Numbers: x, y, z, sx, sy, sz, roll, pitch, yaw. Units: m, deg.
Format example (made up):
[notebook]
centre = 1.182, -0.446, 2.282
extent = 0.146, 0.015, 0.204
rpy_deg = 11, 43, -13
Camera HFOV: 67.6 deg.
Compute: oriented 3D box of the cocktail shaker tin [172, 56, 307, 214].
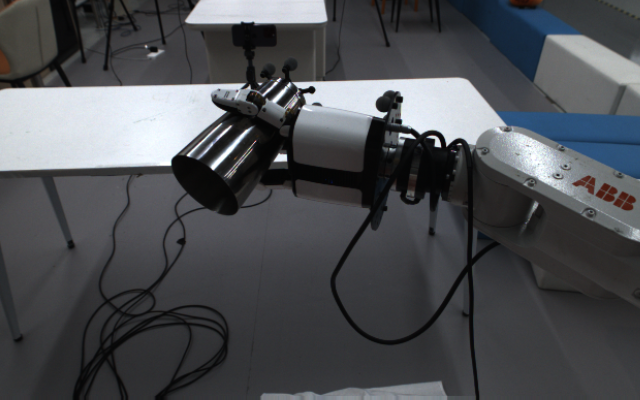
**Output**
[cocktail shaker tin]
centre = -0.085, -0.078, 0.580
extent = 0.093, 0.093, 0.170
rpy_deg = 19, 55, 22
